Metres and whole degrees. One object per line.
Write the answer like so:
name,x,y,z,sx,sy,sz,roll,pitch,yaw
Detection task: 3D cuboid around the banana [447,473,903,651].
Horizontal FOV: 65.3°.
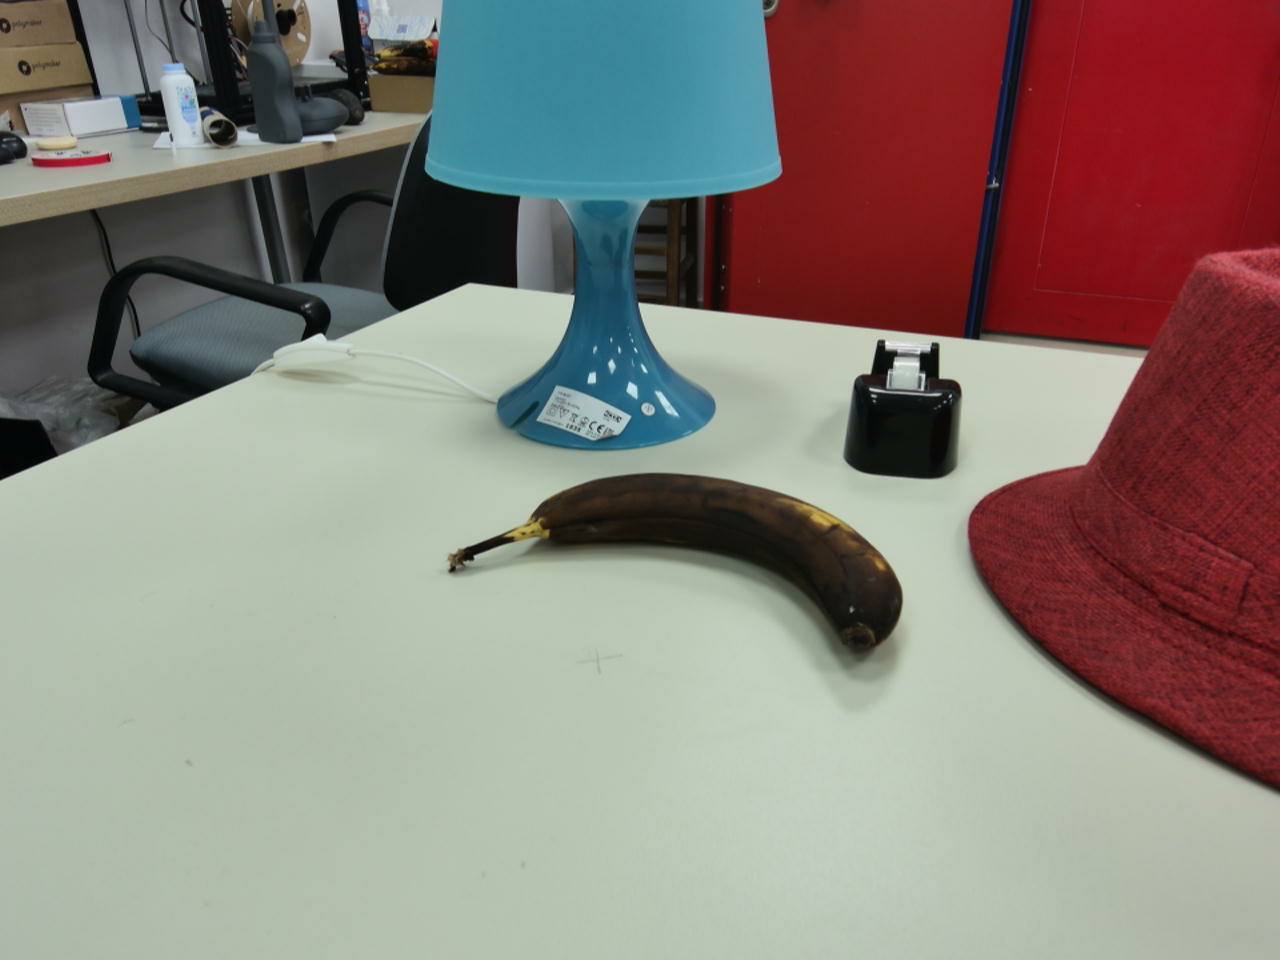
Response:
banana,0.020,0.024,0.420,0.188,0.034,0.091,11,26,25
